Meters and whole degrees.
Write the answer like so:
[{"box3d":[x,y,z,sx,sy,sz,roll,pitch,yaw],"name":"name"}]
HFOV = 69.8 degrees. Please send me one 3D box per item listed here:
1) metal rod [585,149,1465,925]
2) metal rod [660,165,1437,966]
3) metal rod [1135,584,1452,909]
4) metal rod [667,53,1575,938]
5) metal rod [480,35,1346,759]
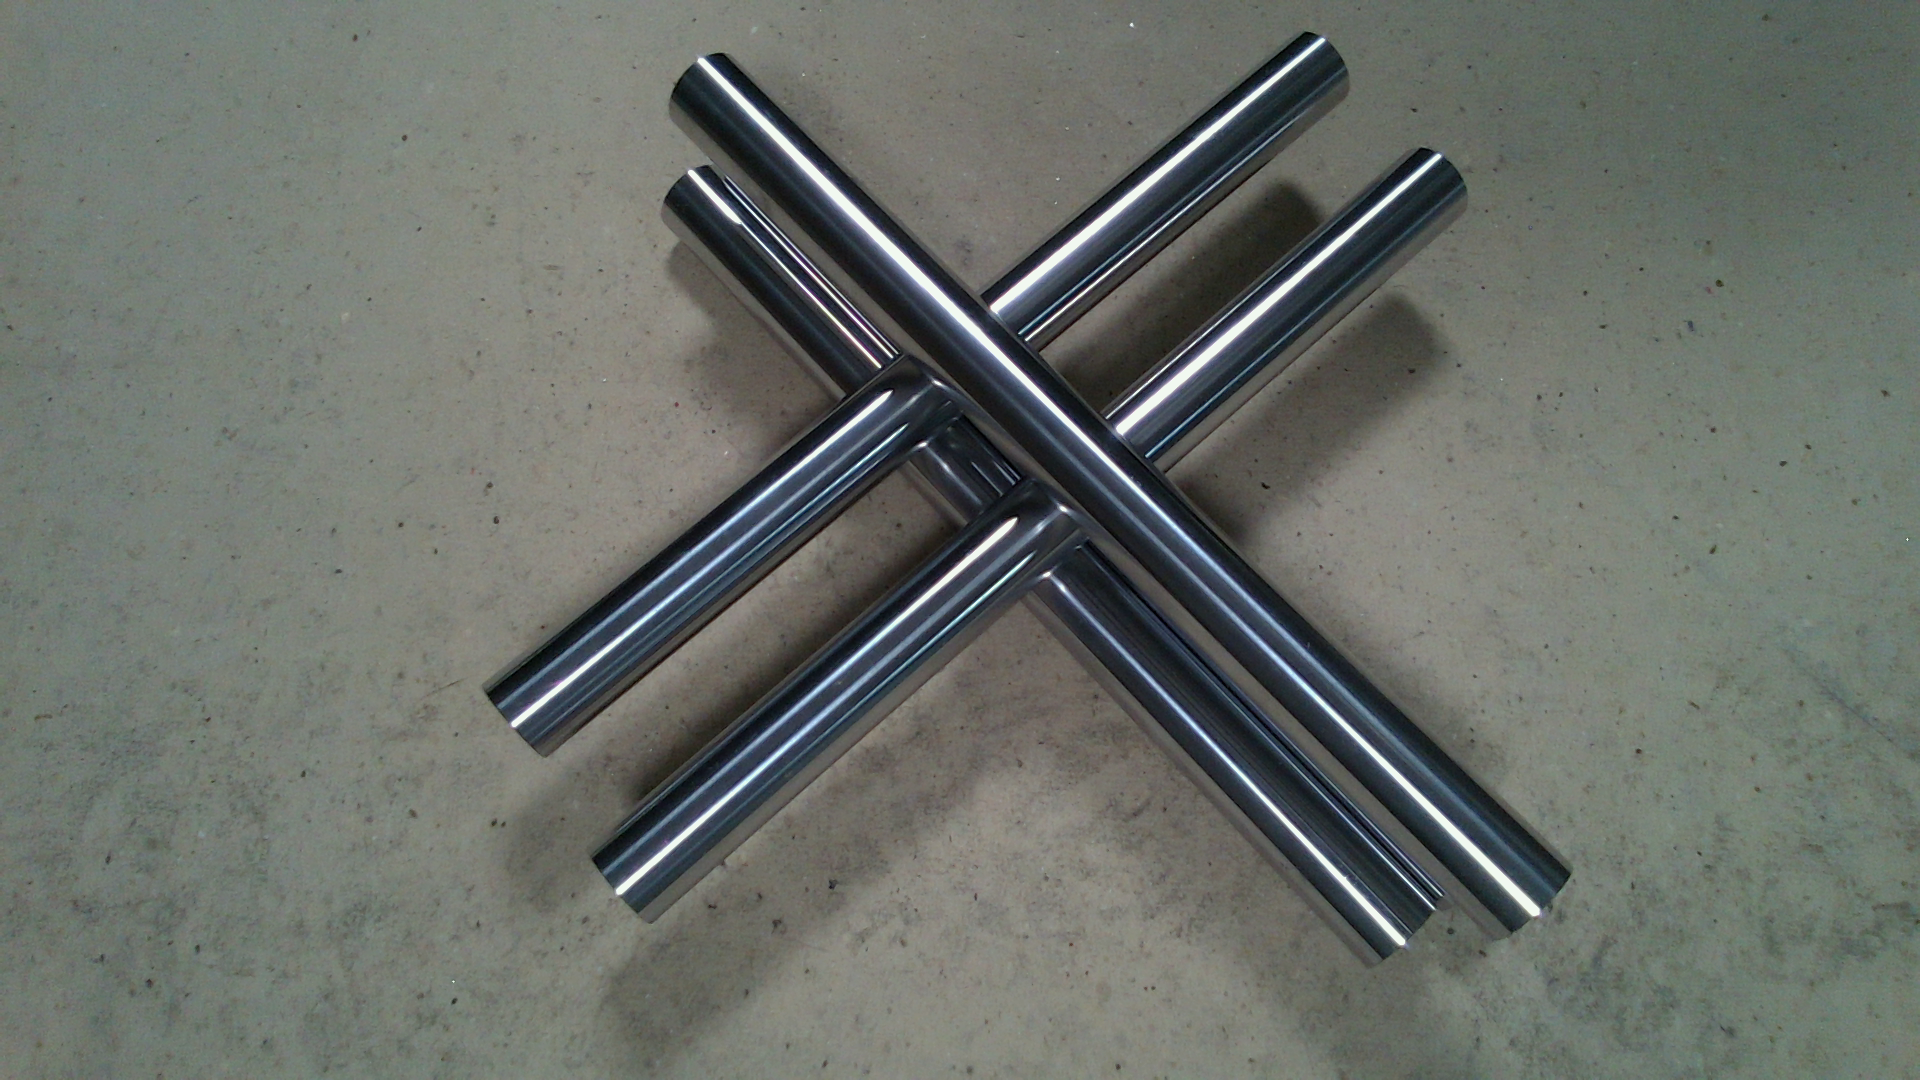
[{"box3d":[0.028,-0.010,0.372,0.300,0.025,0.025,-40,75,-13],"name":"metal rod"},{"box3d":[0.015,-0.003,0.396,0.025,0.025,0.300,-40,75,-13],"name":"metal rod"},{"box3d":[0.036,-0.017,0.401,0.025,0.025,0.300,-40,75,-13],"name":"metal rod"},{"box3d":[0.029,-0.022,0.349,0.025,0.025,0.300,-41,75,-13],"name":"metal rod"},{"box3d":[-0.003,-0.048,0.386,0.300,0.025,0.025,-40,75,-13],"name":"metal rod"}]
